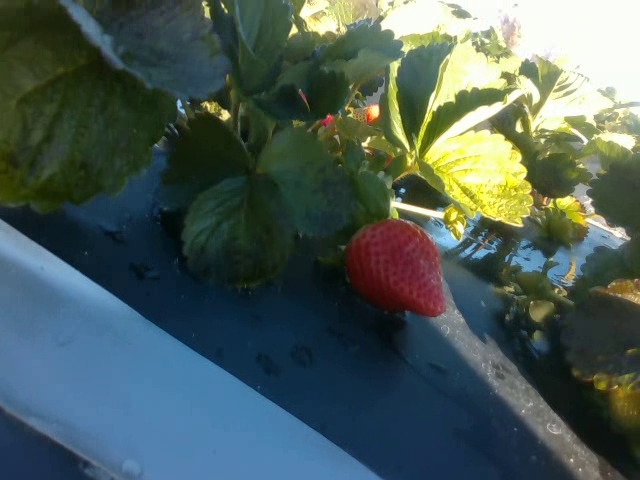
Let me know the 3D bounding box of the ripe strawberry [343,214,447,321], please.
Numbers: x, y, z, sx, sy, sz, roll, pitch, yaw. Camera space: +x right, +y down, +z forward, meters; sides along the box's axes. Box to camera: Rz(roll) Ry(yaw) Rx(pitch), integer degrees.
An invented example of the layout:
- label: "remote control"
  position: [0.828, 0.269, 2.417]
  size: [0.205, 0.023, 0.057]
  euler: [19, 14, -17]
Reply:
- label: "ripe strawberry"
  position: [0.034, 0.013, 0.240]
  size: [0.046, 0.042, 0.058]
  euler: [-21, 47, -7]
